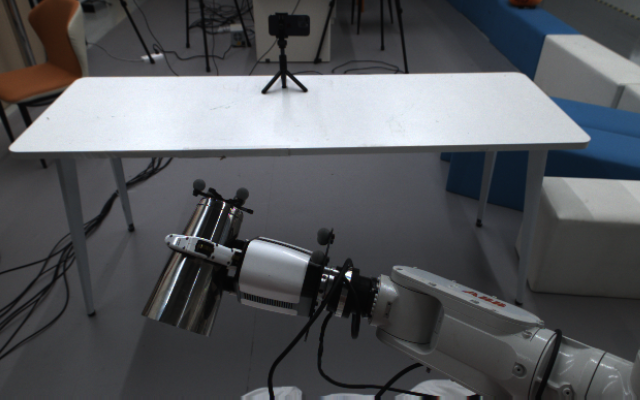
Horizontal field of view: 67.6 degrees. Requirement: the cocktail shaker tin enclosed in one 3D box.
[{"bbox_3d":[-0.165,0.087,0.652,0.093,0.093,0.170,13,70,15],"label":"cocktail shaker tin"}]
